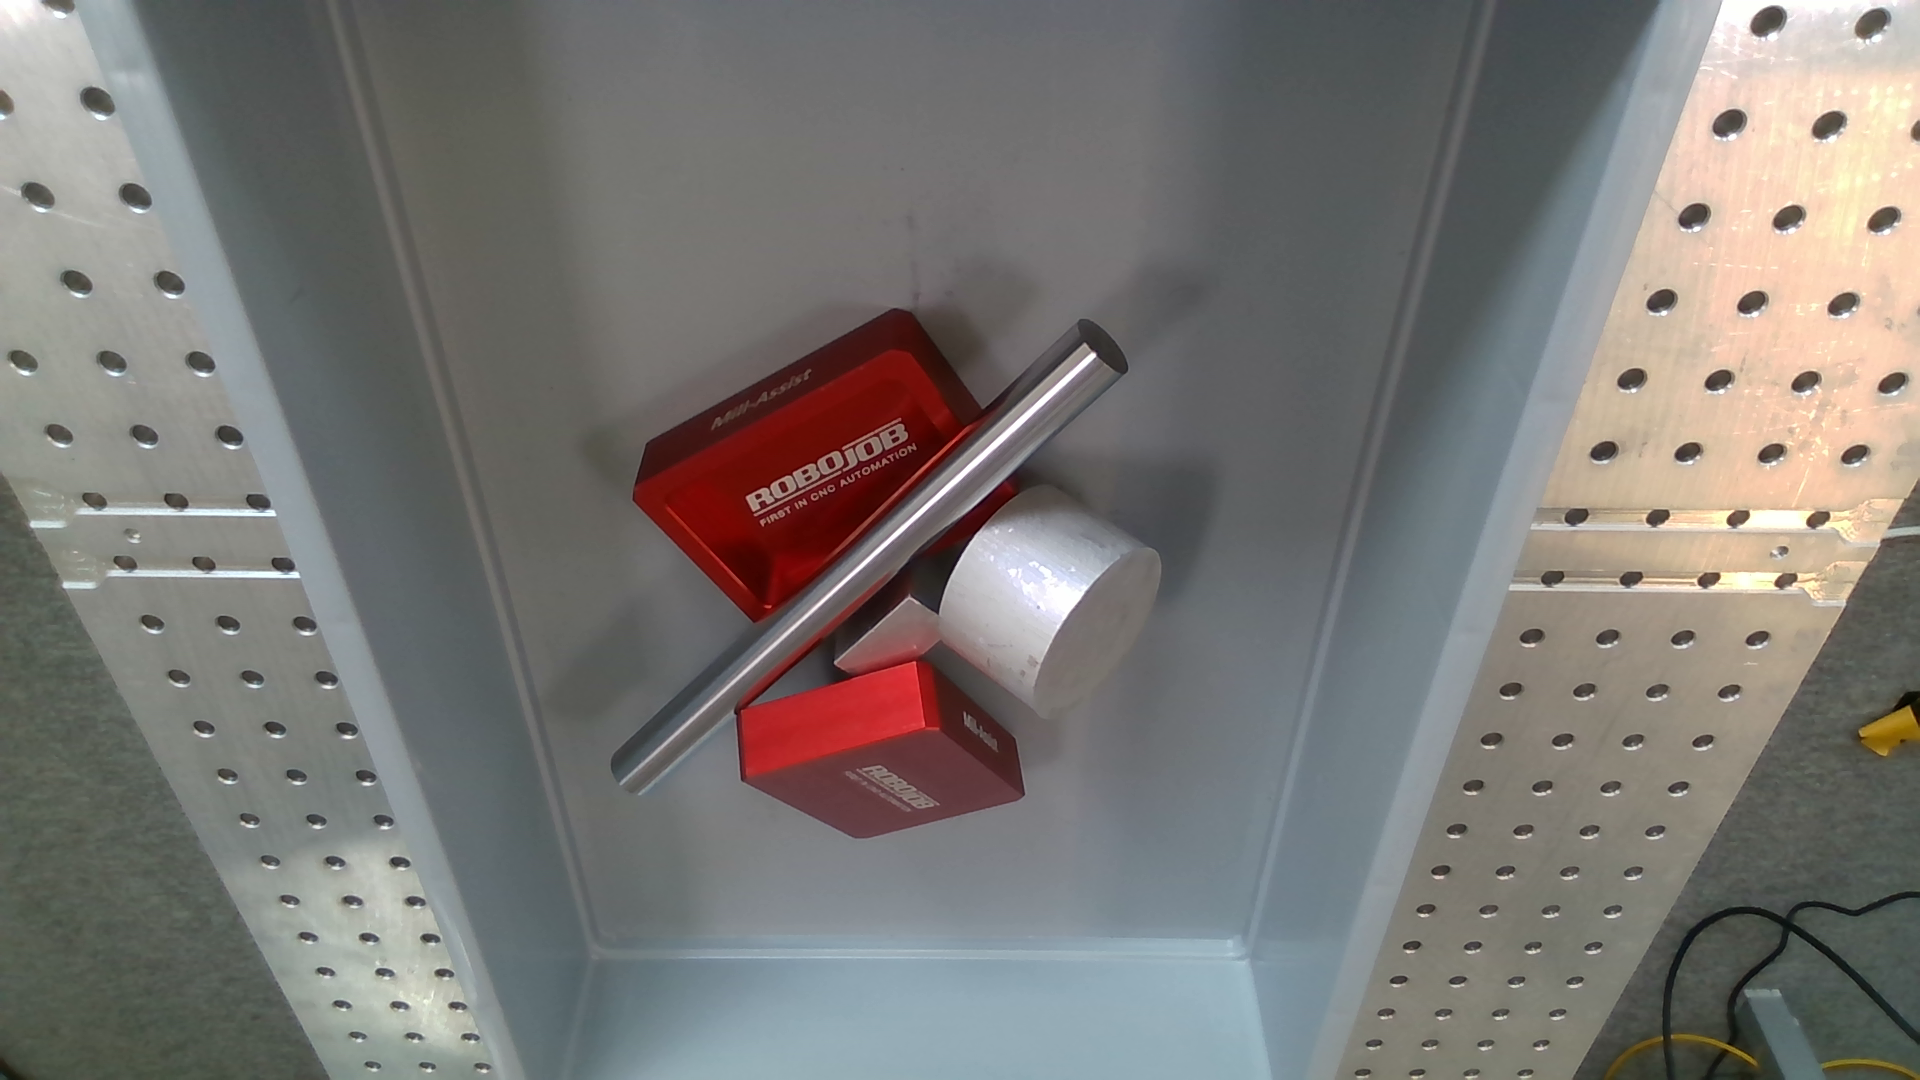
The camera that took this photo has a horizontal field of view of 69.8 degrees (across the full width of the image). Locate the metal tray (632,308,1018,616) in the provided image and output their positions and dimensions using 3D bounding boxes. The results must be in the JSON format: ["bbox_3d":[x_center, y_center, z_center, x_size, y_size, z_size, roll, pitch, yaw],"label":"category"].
[{"bbox_3d":[-0.053,-0.025,0.553,0.130,0.030,0.090,-25,126,20],"label":"metal tray"}]

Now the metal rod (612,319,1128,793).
[{"bbox_3d":[-0.049,0.018,0.555,0.025,0.025,0.301,34,123,-25],"label":"metal rod"}]

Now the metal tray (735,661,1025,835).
[{"bbox_3d":[-0.033,0.098,0.625,0.090,0.030,0.130,-16,152,13],"label":"metal tray"}]

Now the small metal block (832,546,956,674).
[{"bbox_3d":[-0.028,0.028,0.584,0.025,0.050,0.050,33,123,-25],"label":"small metal block"}]

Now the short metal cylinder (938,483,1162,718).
[{"bbox_3d":[0.037,0.024,0.555,0.050,0.080,0.080,35,135,26],"label":"short metal cylinder"}]
